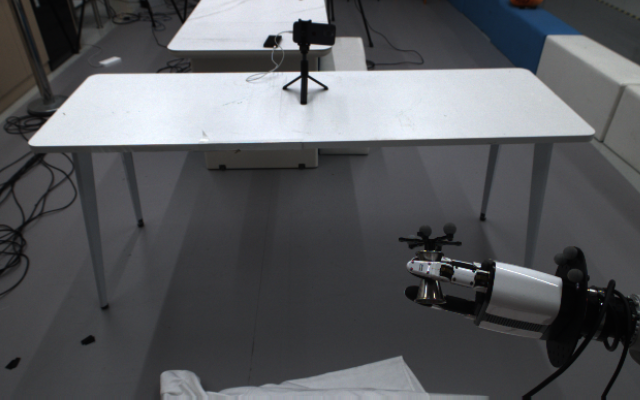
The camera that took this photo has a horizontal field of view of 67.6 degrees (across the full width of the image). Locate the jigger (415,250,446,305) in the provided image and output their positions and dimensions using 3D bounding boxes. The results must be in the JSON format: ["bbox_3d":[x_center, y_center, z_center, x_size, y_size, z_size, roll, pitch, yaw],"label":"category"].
[{"bbox_3d":[0.152,0.106,0.678,0.043,0.043,0.071,4,71,2],"label":"jigger"}]
